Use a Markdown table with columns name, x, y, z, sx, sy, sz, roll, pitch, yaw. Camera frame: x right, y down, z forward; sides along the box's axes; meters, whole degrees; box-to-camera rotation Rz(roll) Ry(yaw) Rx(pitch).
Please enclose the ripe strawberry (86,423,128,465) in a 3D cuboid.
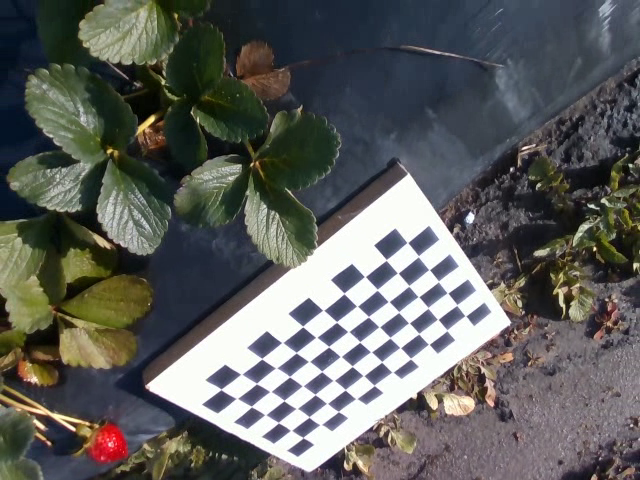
| name | x | y | z | sx | sy | sz | roll | pitch | yaw |
| --- | --- | --- | --- | --- | --- | --- | --- | --- | --- |
| ripe strawberry | -0.183 | 0.180 | 0.544 | 0.044 | 0.040 | 0.037 | 27 | 23 | -25 |
